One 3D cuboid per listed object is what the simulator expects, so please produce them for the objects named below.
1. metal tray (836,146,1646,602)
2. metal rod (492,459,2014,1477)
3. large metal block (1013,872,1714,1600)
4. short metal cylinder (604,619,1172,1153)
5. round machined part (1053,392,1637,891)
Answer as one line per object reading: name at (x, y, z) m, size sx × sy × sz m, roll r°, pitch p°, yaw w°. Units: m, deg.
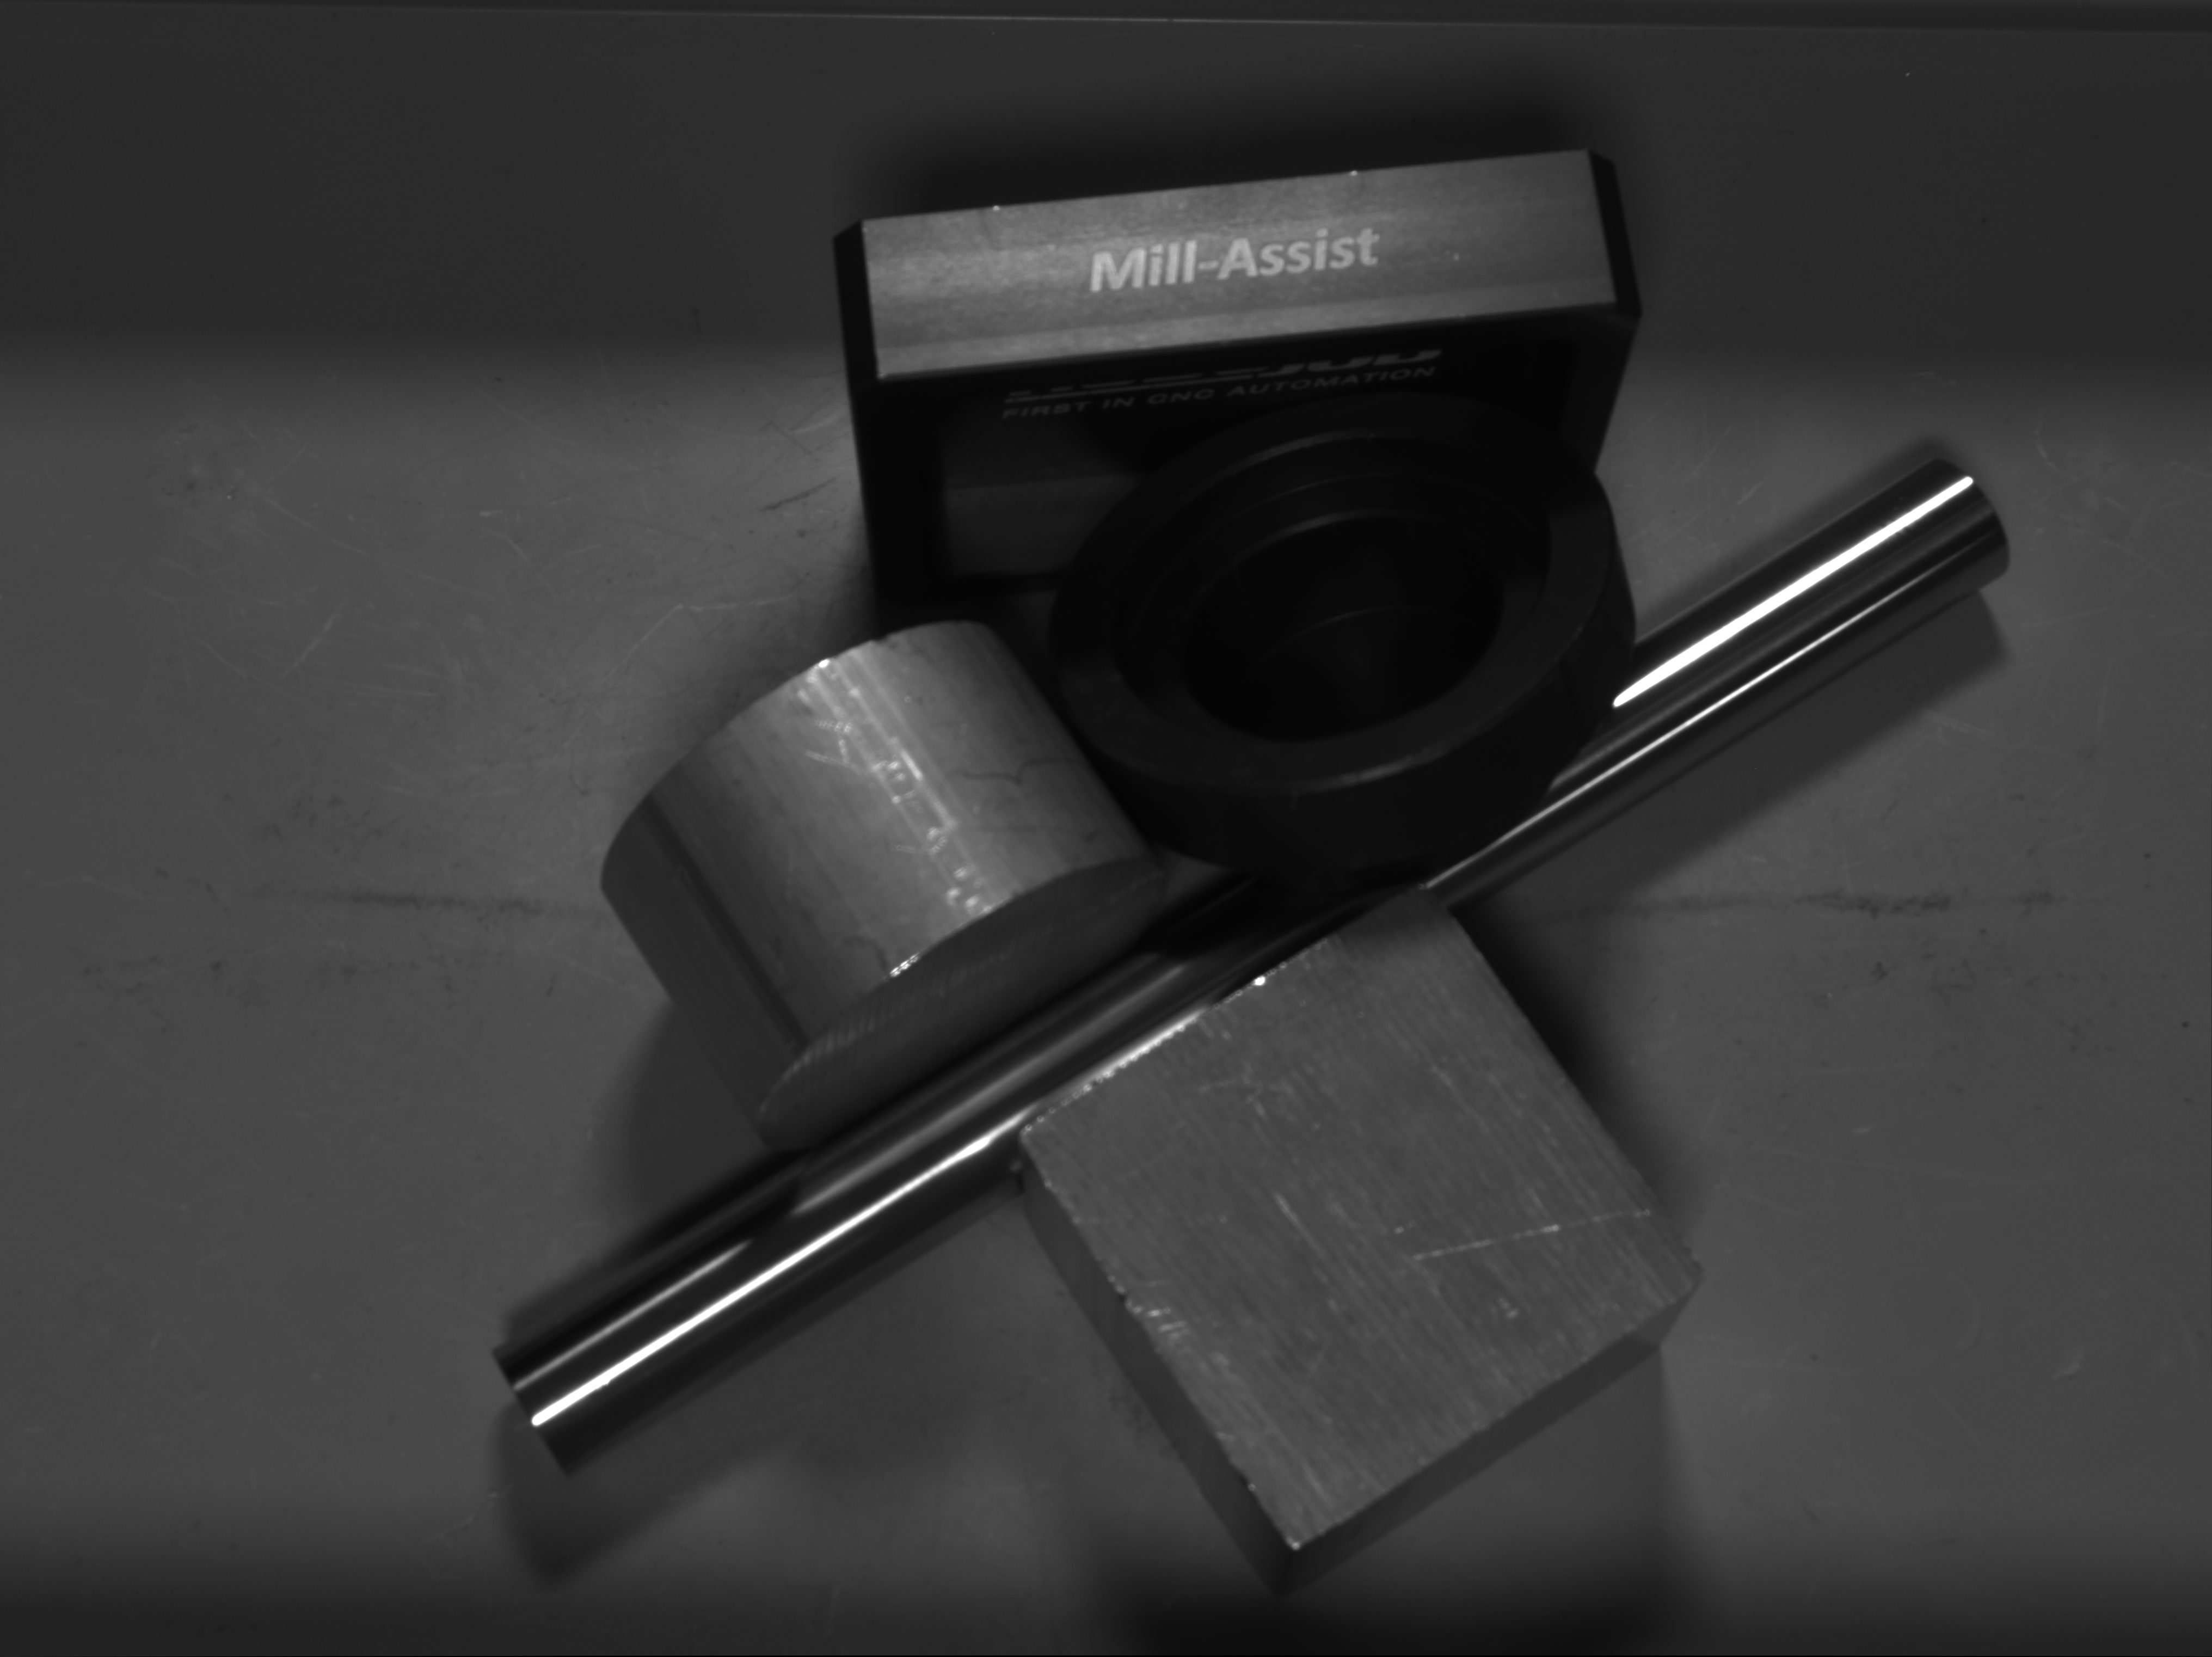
metal tray at (0.022, -0.077, 0.636) m, size 0.130 × 0.090 × 0.030 m, roll -6°, pitch 70°, yaw -3°
metal rod at (0.031, 0.020, 0.636) m, size 0.300 × 0.025 × 0.025 m, roll -31°, pitch 73°, yaw -11°
large metal block at (0.041, 0.068, 0.604) m, size 0.080 × 0.050 × 0.080 m, roll -31°, pitch 73°, yaw -11°
short metal cylinder at (-0.036, 0.010, 0.611) m, size 0.080 × 0.080 × 0.050 m, roll -32°, pitch 73°, yaw -11°
round machined part at (0.043, -0.028, 0.630) m, size 0.098 × 0.042 × 0.098 m, roll -11°, pitch 44°, yaw 10°
